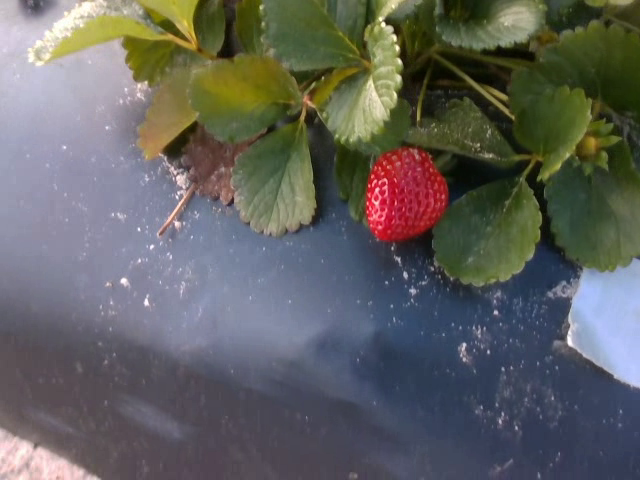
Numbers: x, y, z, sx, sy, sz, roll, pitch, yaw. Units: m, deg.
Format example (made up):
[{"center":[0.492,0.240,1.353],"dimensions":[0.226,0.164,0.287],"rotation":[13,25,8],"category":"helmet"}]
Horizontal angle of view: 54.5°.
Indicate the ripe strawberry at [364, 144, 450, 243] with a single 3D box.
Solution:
[{"center":[0.016,-0.008,0.124],"dimensions":[0.018,0.023,0.021],"rotation":[12,-36,30],"category":"ripe strawberry"}]
